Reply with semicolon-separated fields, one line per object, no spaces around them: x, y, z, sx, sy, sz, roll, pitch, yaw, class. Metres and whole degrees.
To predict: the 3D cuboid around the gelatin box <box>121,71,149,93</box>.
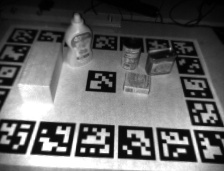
0.080;-0.016;0.739;0.089;0.030;0.073;10;51;6;gelatin box

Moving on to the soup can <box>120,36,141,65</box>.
0.065;-0.131;0.784;0.068;0.102;0.067;2;51;-2;soup can

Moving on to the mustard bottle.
-0.127;-0.159;0.746;0.097;0.192;0.058;-16;52;-20;mustard bottle

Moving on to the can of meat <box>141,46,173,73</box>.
0.161;-0.096;0.788;0.102;0.084;0.057;-6;51;-13;can of meat

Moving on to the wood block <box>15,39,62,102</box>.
-0.231;-0.056;0.707;0.091;0.090;0.205;6;45;-2;wood block
